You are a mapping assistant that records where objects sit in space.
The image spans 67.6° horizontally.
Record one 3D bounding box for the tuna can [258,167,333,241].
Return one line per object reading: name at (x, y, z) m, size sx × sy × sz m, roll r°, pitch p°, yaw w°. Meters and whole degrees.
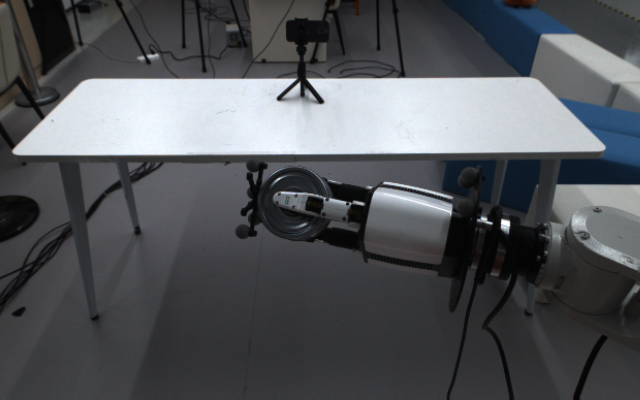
tuna can at (-0.024, 0.007, 0.556) m, size 0.085 × 0.085 × 0.034 m, roll 9°, pitch -6°, yaw 10°
